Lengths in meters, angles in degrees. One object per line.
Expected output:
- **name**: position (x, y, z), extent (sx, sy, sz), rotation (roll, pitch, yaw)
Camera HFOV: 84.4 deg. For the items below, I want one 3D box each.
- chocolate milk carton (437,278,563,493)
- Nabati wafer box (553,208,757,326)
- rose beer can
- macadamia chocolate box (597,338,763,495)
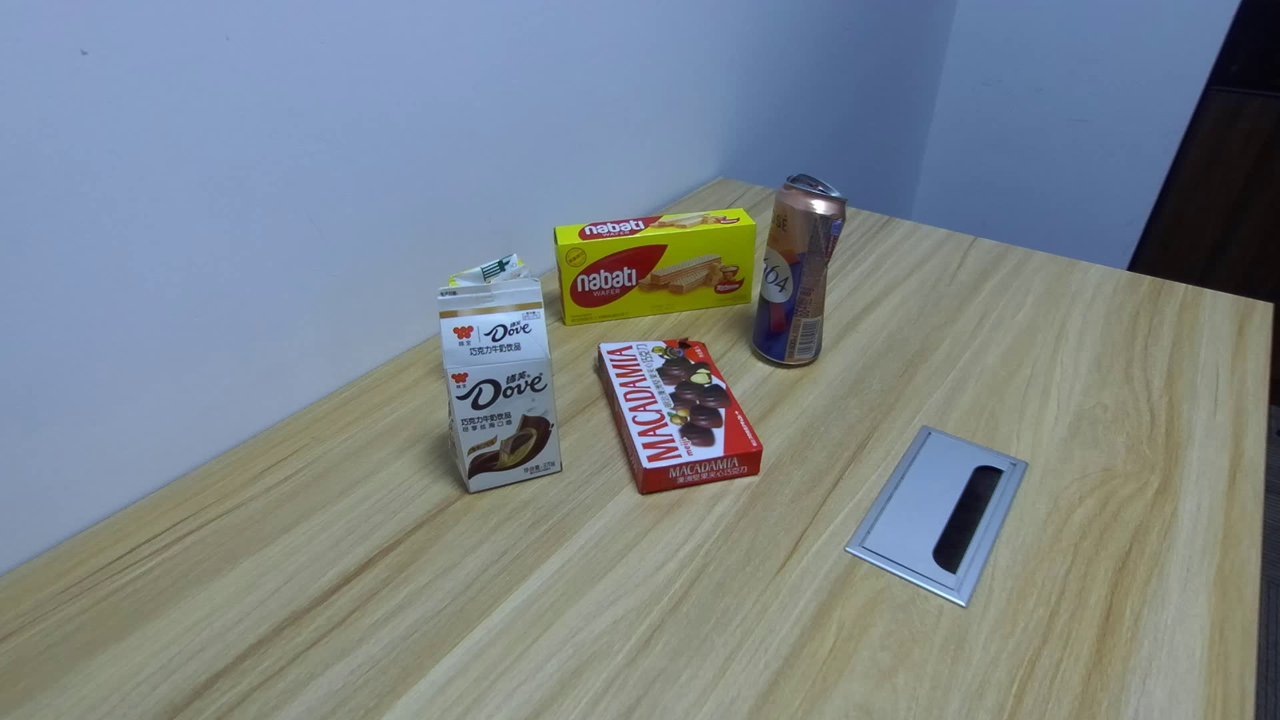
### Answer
- **chocolate milk carton**: position (-0.108, 0.011, 0.521), extent (0.084, 0.155, 0.073), rotation (-12, 36, -14)
- **Nabati wafer box**: position (0.018, -0.095, 0.723), extent (0.203, 0.093, 0.042), rotation (-8, 33, -10)
- **rose beer can**: position (0.141, -0.077, 0.631), extent (0.069, 0.168, 0.070), rotation (21, 34, 27)
- **macadamia chocolate box**: position (0.028, 0.034, 0.595), extent (0.103, 0.027, 0.186), rotation (-6, 34, -12)
